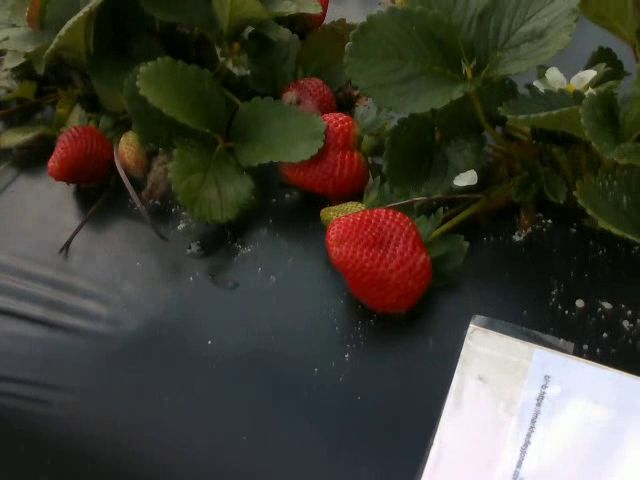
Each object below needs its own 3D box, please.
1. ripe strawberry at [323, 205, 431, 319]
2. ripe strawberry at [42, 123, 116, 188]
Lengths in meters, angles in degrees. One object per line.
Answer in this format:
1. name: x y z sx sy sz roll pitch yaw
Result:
1. ripe strawberry: 0.022 0.008 0.291 0.057 0.056 0.064 -31 -18 29
2. ripe strawberry: -0.149 -0.054 0.372 0.043 0.041 0.052 -5 33 22
